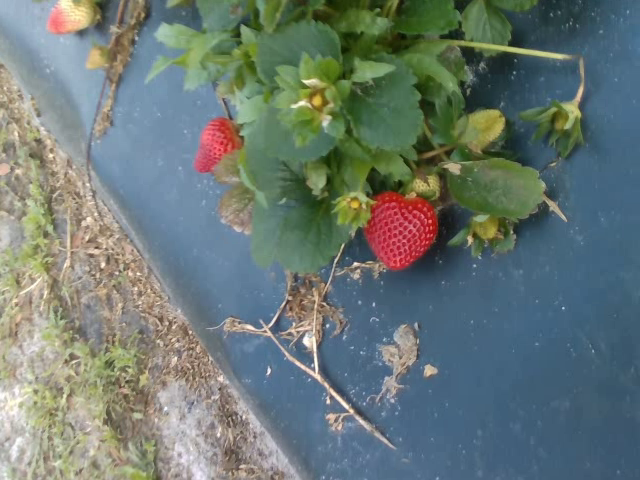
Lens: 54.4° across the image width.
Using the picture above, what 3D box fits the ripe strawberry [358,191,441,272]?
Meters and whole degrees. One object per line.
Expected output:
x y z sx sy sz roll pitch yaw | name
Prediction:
0.043 -0.003 0.354 0.047 0.046 0.043 16 -31 -25 | ripe strawberry

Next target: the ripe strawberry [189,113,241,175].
-0.072 -0.066 0.450 0.051 0.043 0.043 -44 -25 22 | ripe strawberry
